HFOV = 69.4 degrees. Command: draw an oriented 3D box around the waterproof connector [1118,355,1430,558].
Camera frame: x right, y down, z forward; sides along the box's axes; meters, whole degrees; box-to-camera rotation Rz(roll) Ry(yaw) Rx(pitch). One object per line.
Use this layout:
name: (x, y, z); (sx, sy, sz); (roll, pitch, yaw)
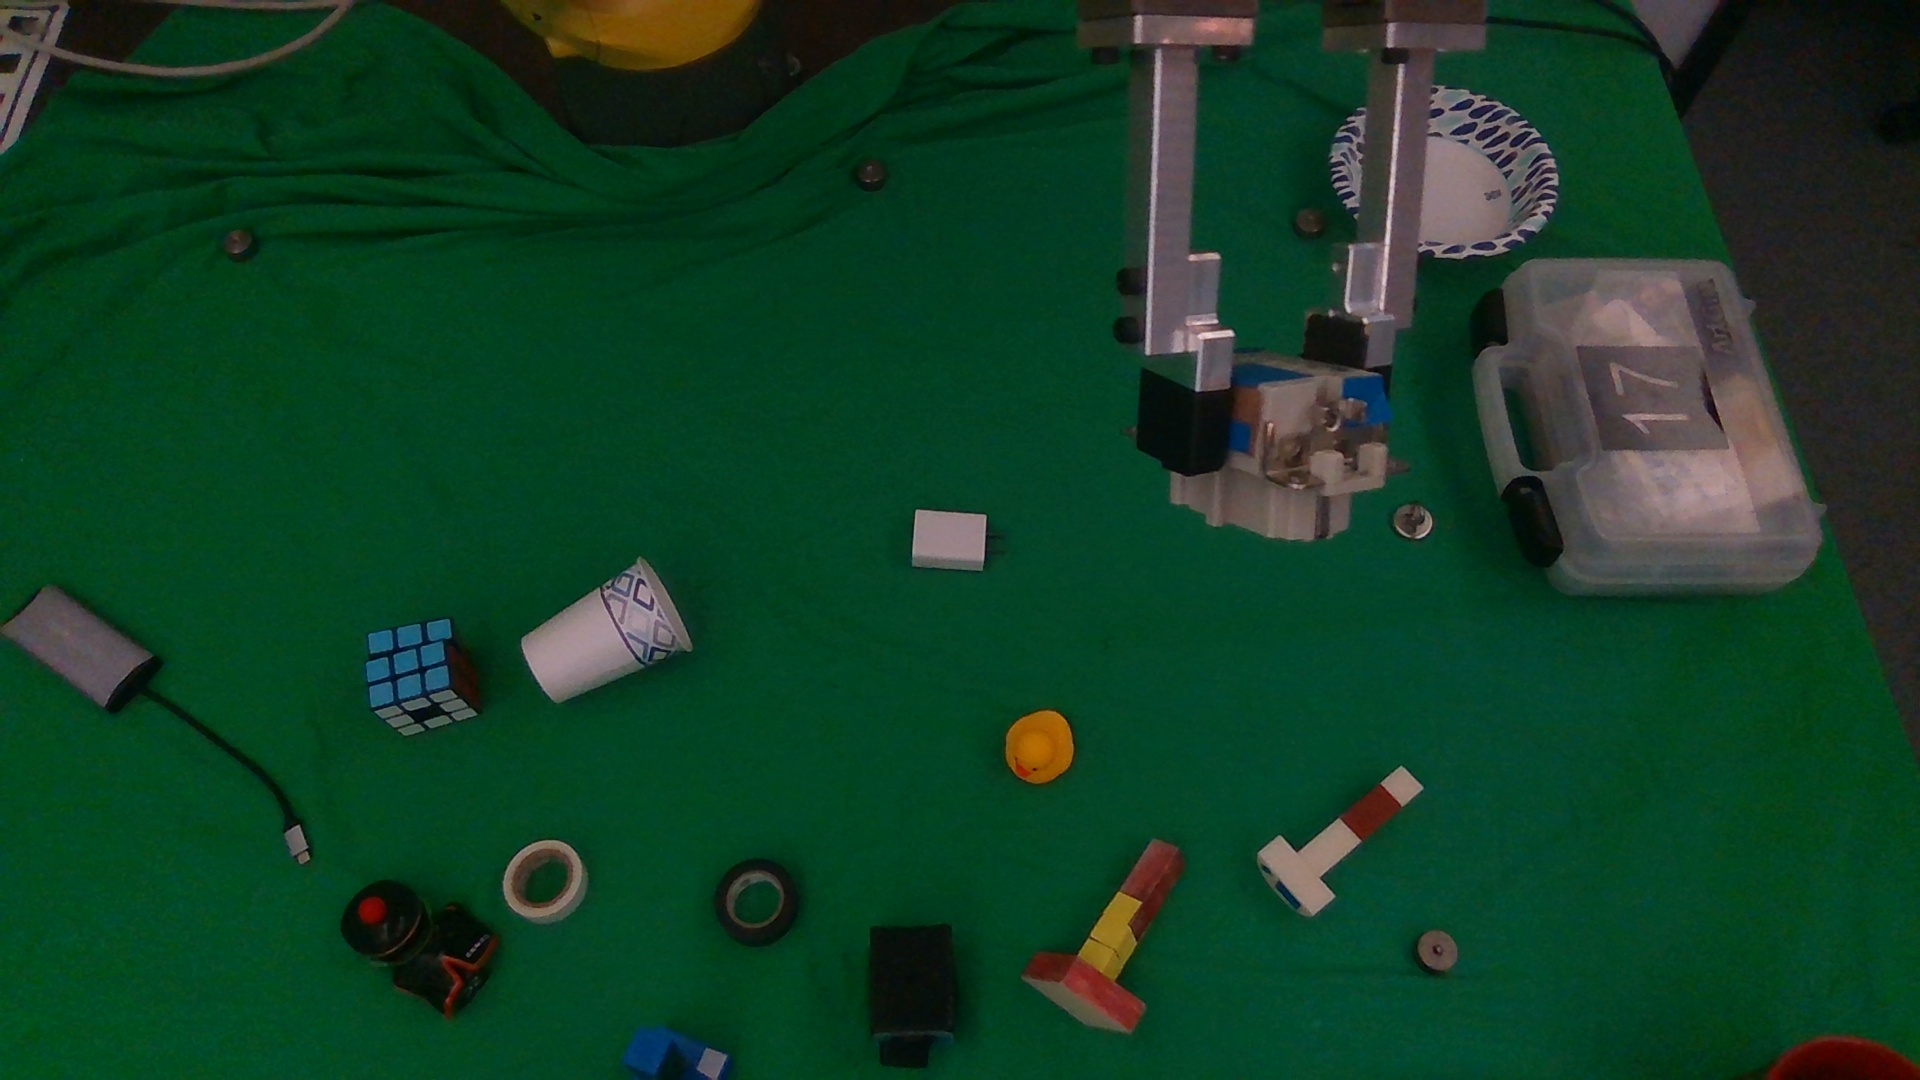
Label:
waterproof connector: (0.066, -0.019, 0.303); (0.034, 0.037, 0.065); (-7, 18, -32)

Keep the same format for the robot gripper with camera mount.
robot gripper with camera mount: (0.113, -0.072, 0.215); (0.118, 0.158, 0.194); (-8, 18, -28)
